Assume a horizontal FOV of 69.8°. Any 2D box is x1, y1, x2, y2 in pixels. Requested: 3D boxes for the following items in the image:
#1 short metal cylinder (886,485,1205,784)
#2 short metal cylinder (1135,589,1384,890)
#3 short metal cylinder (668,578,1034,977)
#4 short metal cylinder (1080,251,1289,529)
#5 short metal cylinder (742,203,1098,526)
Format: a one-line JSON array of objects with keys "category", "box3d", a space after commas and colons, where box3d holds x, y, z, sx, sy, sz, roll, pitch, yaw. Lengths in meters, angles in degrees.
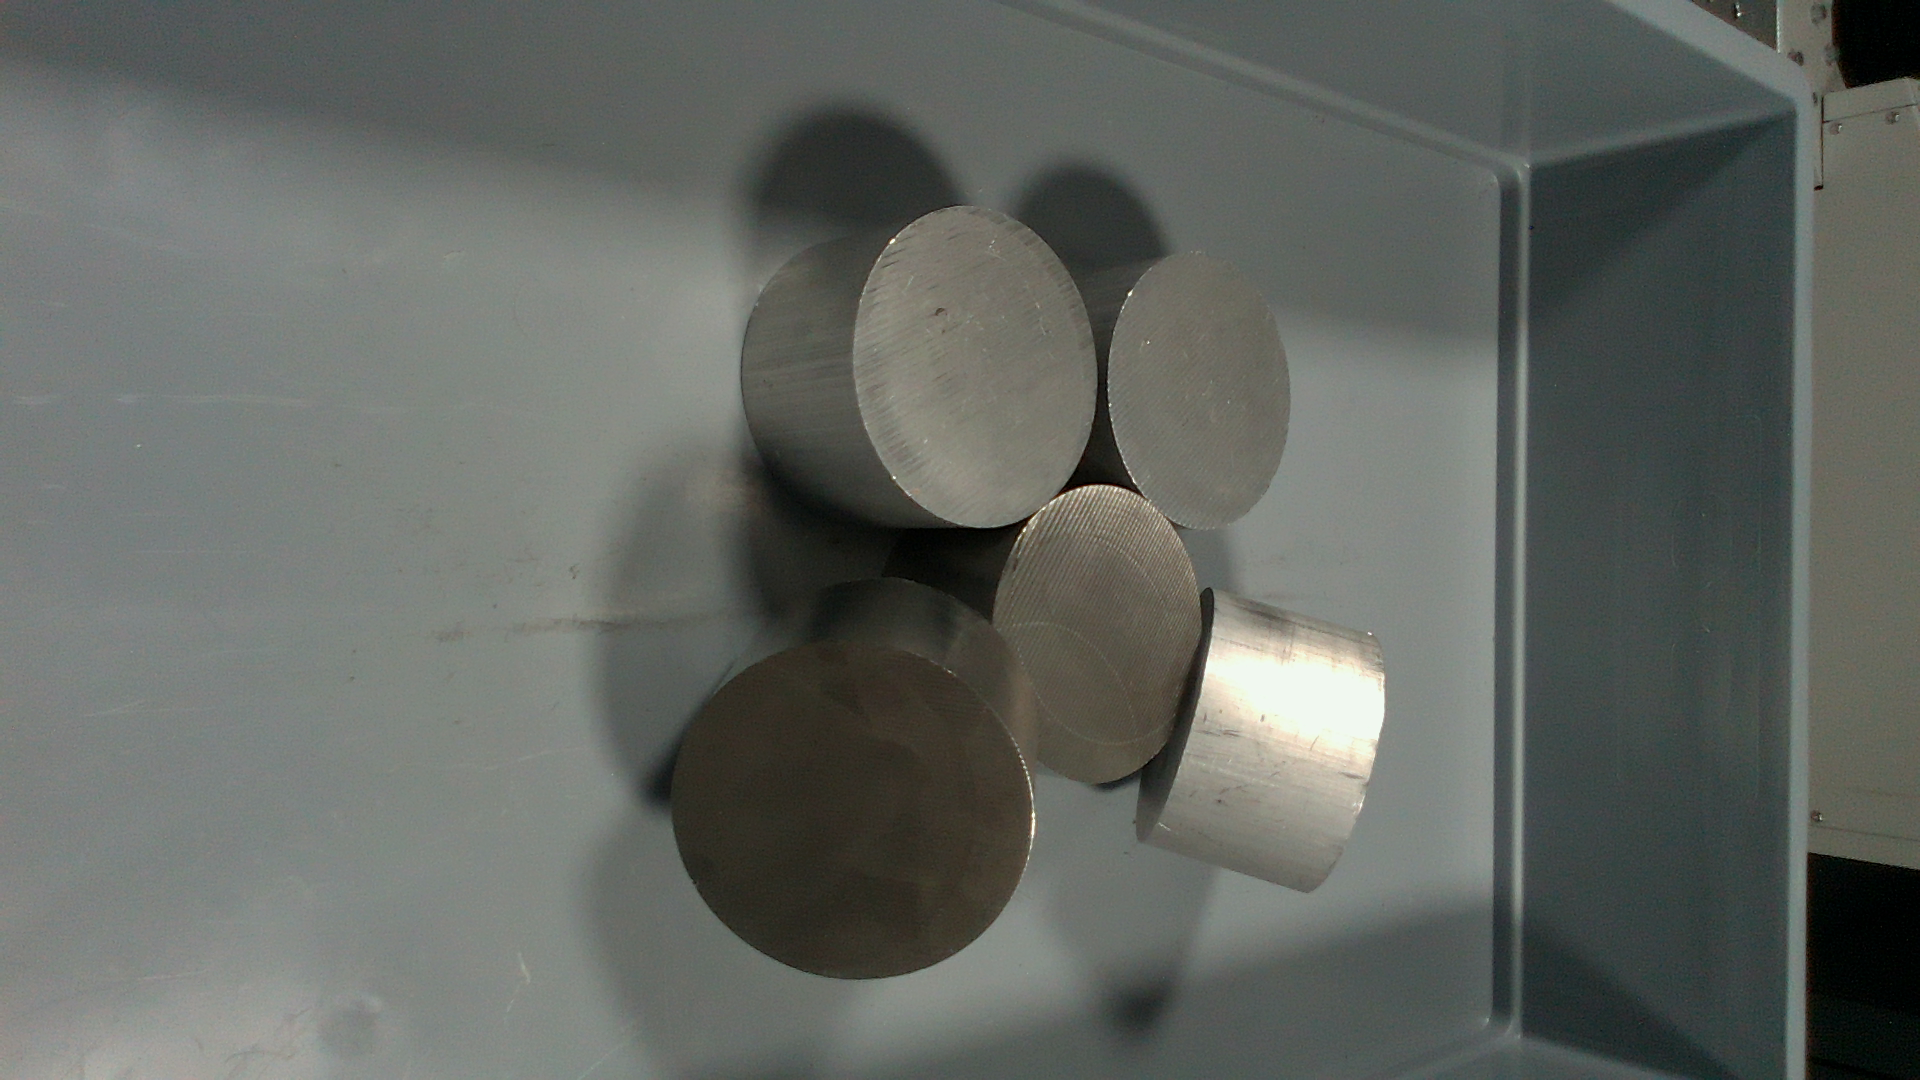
[{"category": "short metal cylinder", "box3d": [0.024, 0.025, 0.389, 0.080, 0.050, 0.080, 0, 90, -40]}, {"category": "short metal cylinder", "box3d": [0.089, 0.060, 0.417, 0.050, 0.080, 0.080, 16, 77, 2]}, {"category": "short metal cylinder", "box3d": [-0.023, 0.054, 0.326, 0.050, 0.080, 0.080, -73, 149, -75]}, {"category": "short metal cylinder", "box3d": [0.054, -0.043, 0.417, 0.080, 0.050, 0.080, 0, 90, -40]}, {"category": "short metal cylinder", "box3d": [-0.010, -0.043, 0.362, 0.080, 0.050, 0.080, 0, 90, -40]}]
